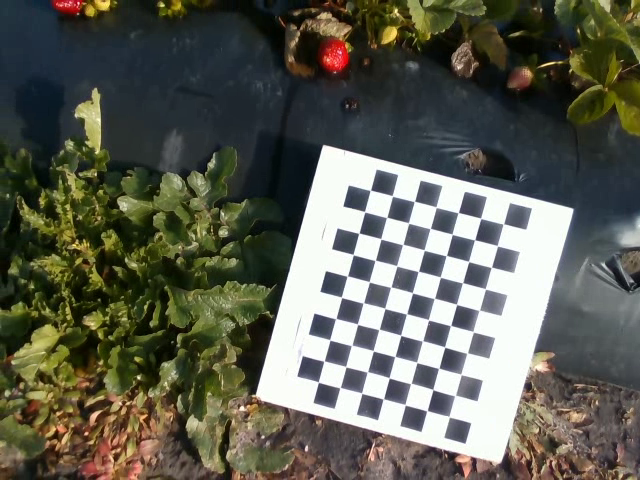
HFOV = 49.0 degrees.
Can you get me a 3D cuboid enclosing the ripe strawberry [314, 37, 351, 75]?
[{"bbox_3d":[0.009,-0.185,0.700,0.046,0.037,0.054,36,41,1],"label":"ripe strawberry"}]
